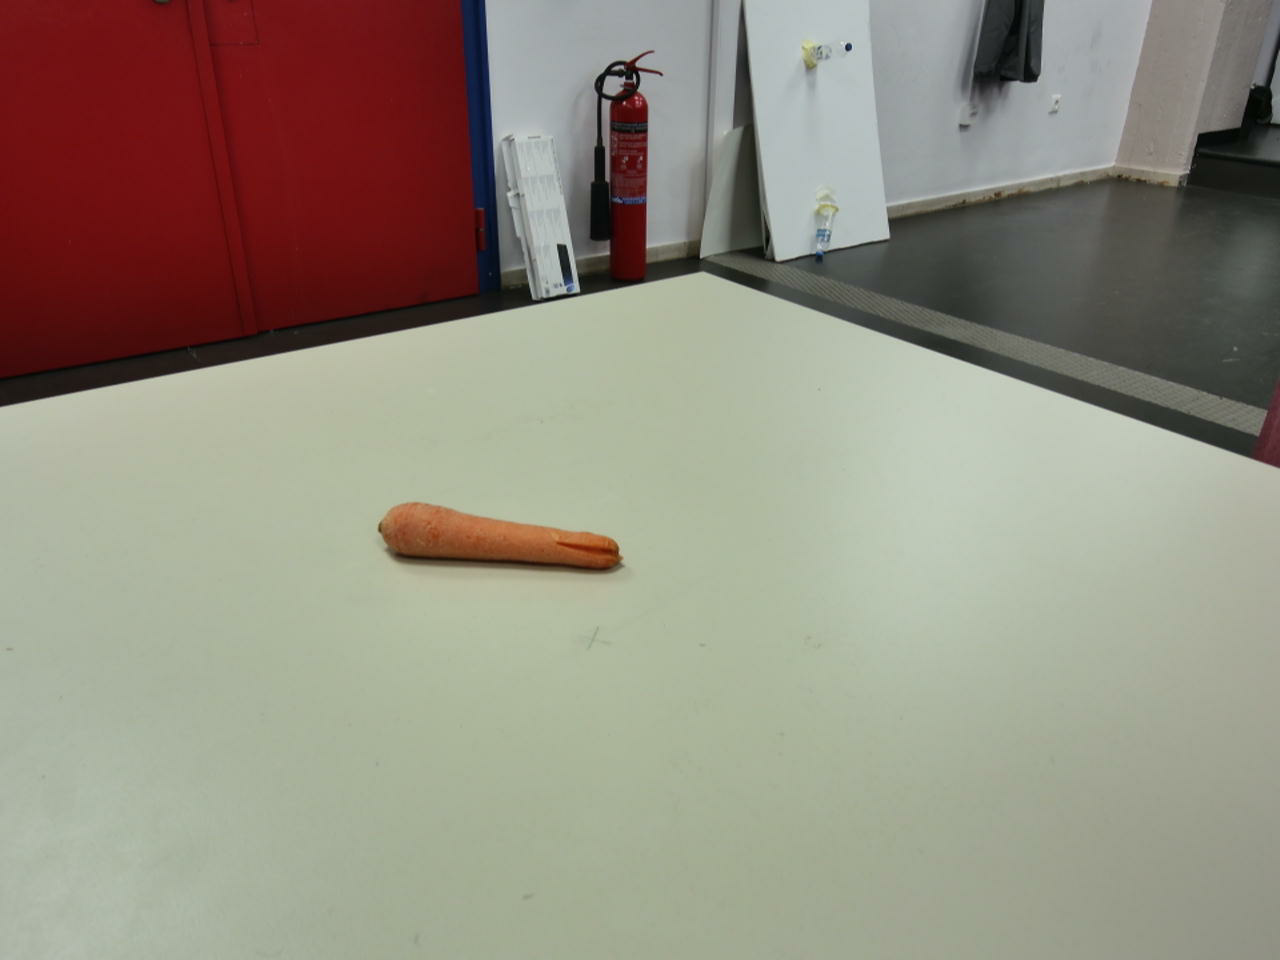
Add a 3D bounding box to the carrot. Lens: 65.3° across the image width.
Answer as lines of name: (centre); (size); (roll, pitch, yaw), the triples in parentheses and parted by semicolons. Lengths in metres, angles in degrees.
carrot: (-0.078, 0.031, 0.548); (0.136, 0.032, 0.030); (4, 25, 7)
